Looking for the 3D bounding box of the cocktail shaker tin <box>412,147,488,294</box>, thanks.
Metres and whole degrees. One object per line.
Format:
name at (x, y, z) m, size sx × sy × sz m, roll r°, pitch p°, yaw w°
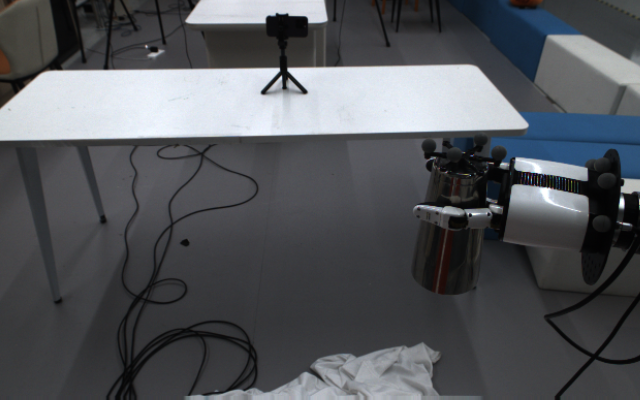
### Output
cocktail shaker tin at (0.176, 0.024, 0.630) m, size 0.093 × 0.170 × 0.093 m, roll -1°, pitch 32°, yaw 1°
